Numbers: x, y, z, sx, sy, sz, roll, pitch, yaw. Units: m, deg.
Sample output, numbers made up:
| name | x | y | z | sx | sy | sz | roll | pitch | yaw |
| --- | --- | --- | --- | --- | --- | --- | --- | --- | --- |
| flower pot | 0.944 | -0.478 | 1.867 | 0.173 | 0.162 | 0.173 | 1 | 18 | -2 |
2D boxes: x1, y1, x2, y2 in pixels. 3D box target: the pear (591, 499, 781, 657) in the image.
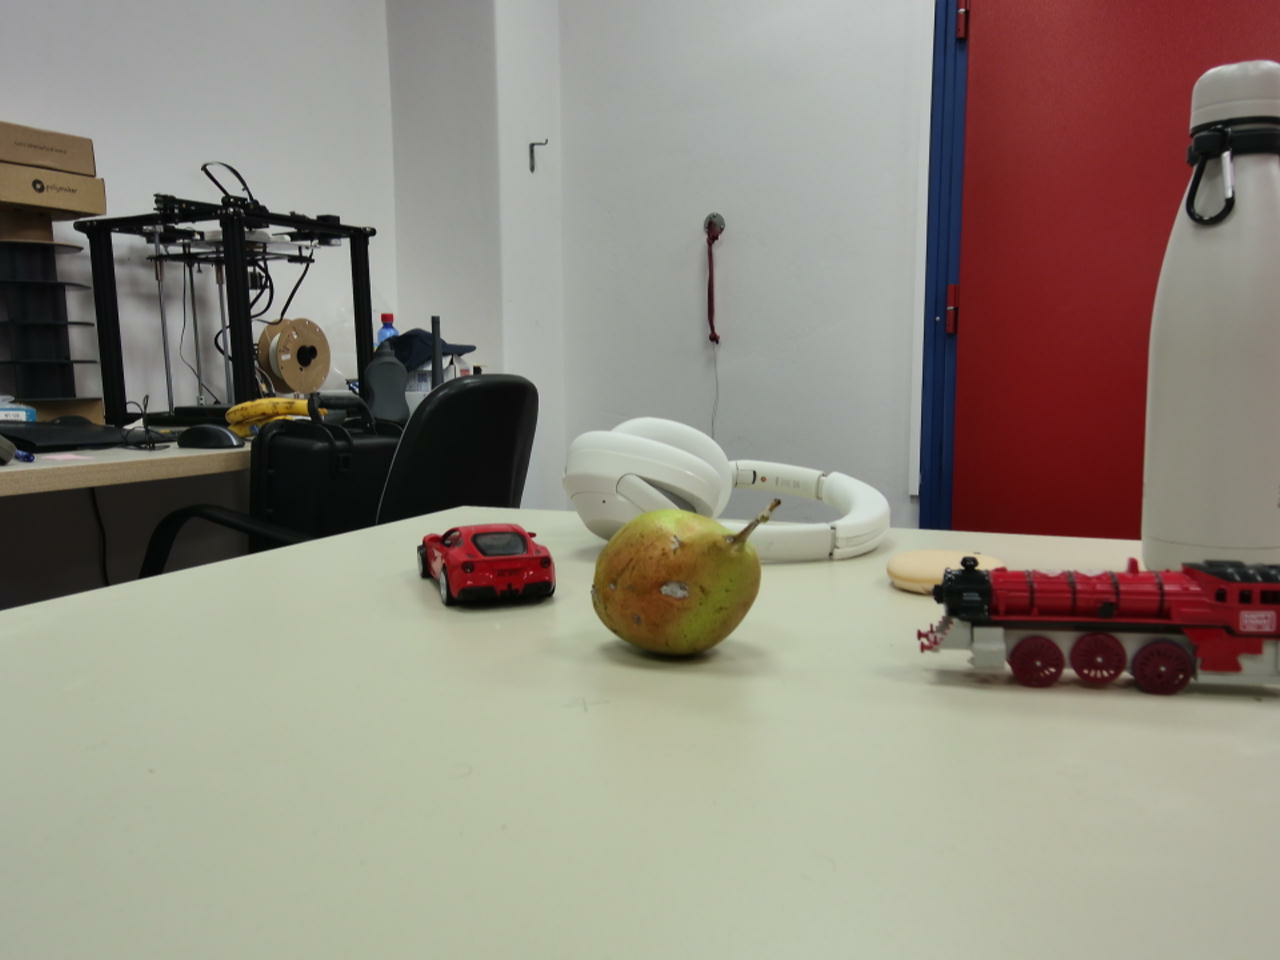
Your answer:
| name | x | y | z | sx | sy | sz | roll | pitch | yaw |
| --- | --- | --- | --- | --- | --- | --- | --- | --- | --- |
| pear | 0.015 | 0.041 | 0.431 | 0.068 | 0.069 | 0.070 | 0 | 4 | -14 |
